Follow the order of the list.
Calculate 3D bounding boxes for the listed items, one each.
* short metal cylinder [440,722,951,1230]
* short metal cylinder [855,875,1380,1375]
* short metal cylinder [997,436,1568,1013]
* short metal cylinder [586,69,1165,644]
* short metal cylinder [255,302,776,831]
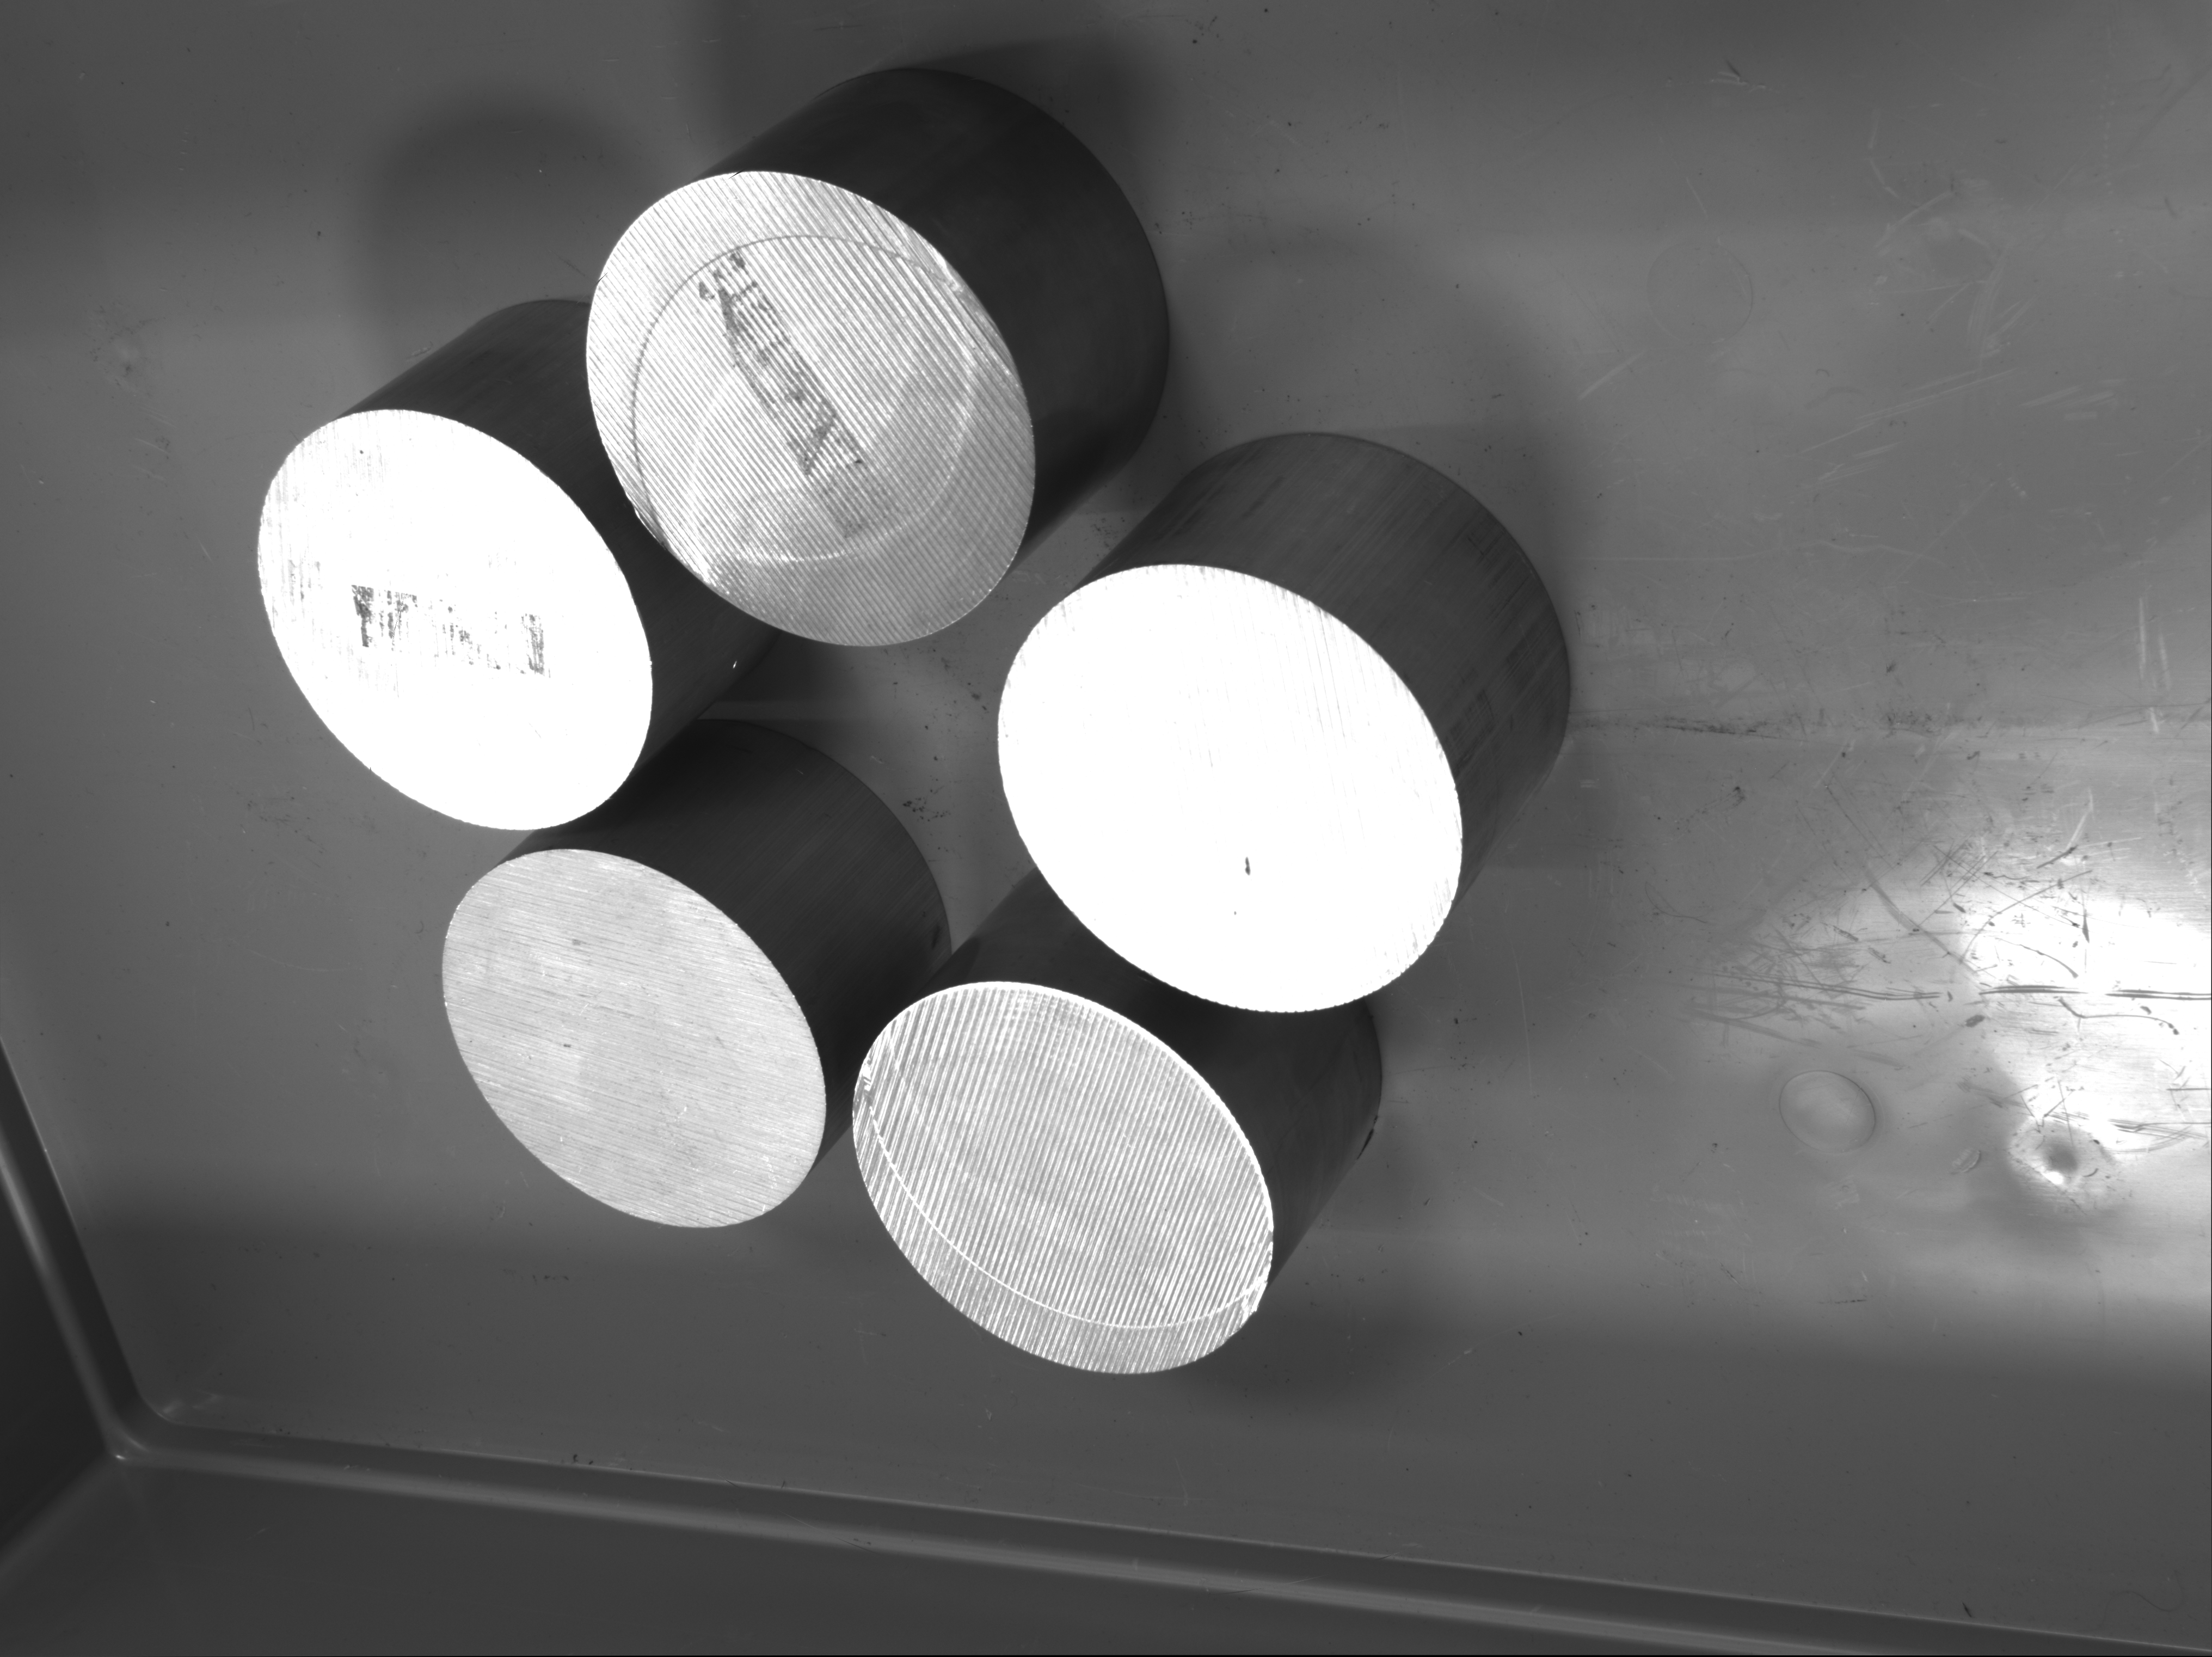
[{"bbox_3d":[-0.076,0.027,0.681,0.080,0.050,0.080,13,124,21],"label":"short metal cylinder"},{"bbox_3d":[0.002,0.050,0.653,0.080,0.050,0.080,13,124,21],"label":"short metal cylinder"},{"bbox_3d":[0.029,-0.017,0.598,0.080,0.050,0.080,13,124,21],"label":"short metal cylinder"},{"bbox_3d":[-0.037,-0.077,0.597,0.080,0.050,0.080,13,124,21],"label":"short metal cylinder"},{"bbox_3d":[-0.103,-0.047,0.651,0.080,0.050,0.080,13,124,21],"label":"short metal cylinder"}]
